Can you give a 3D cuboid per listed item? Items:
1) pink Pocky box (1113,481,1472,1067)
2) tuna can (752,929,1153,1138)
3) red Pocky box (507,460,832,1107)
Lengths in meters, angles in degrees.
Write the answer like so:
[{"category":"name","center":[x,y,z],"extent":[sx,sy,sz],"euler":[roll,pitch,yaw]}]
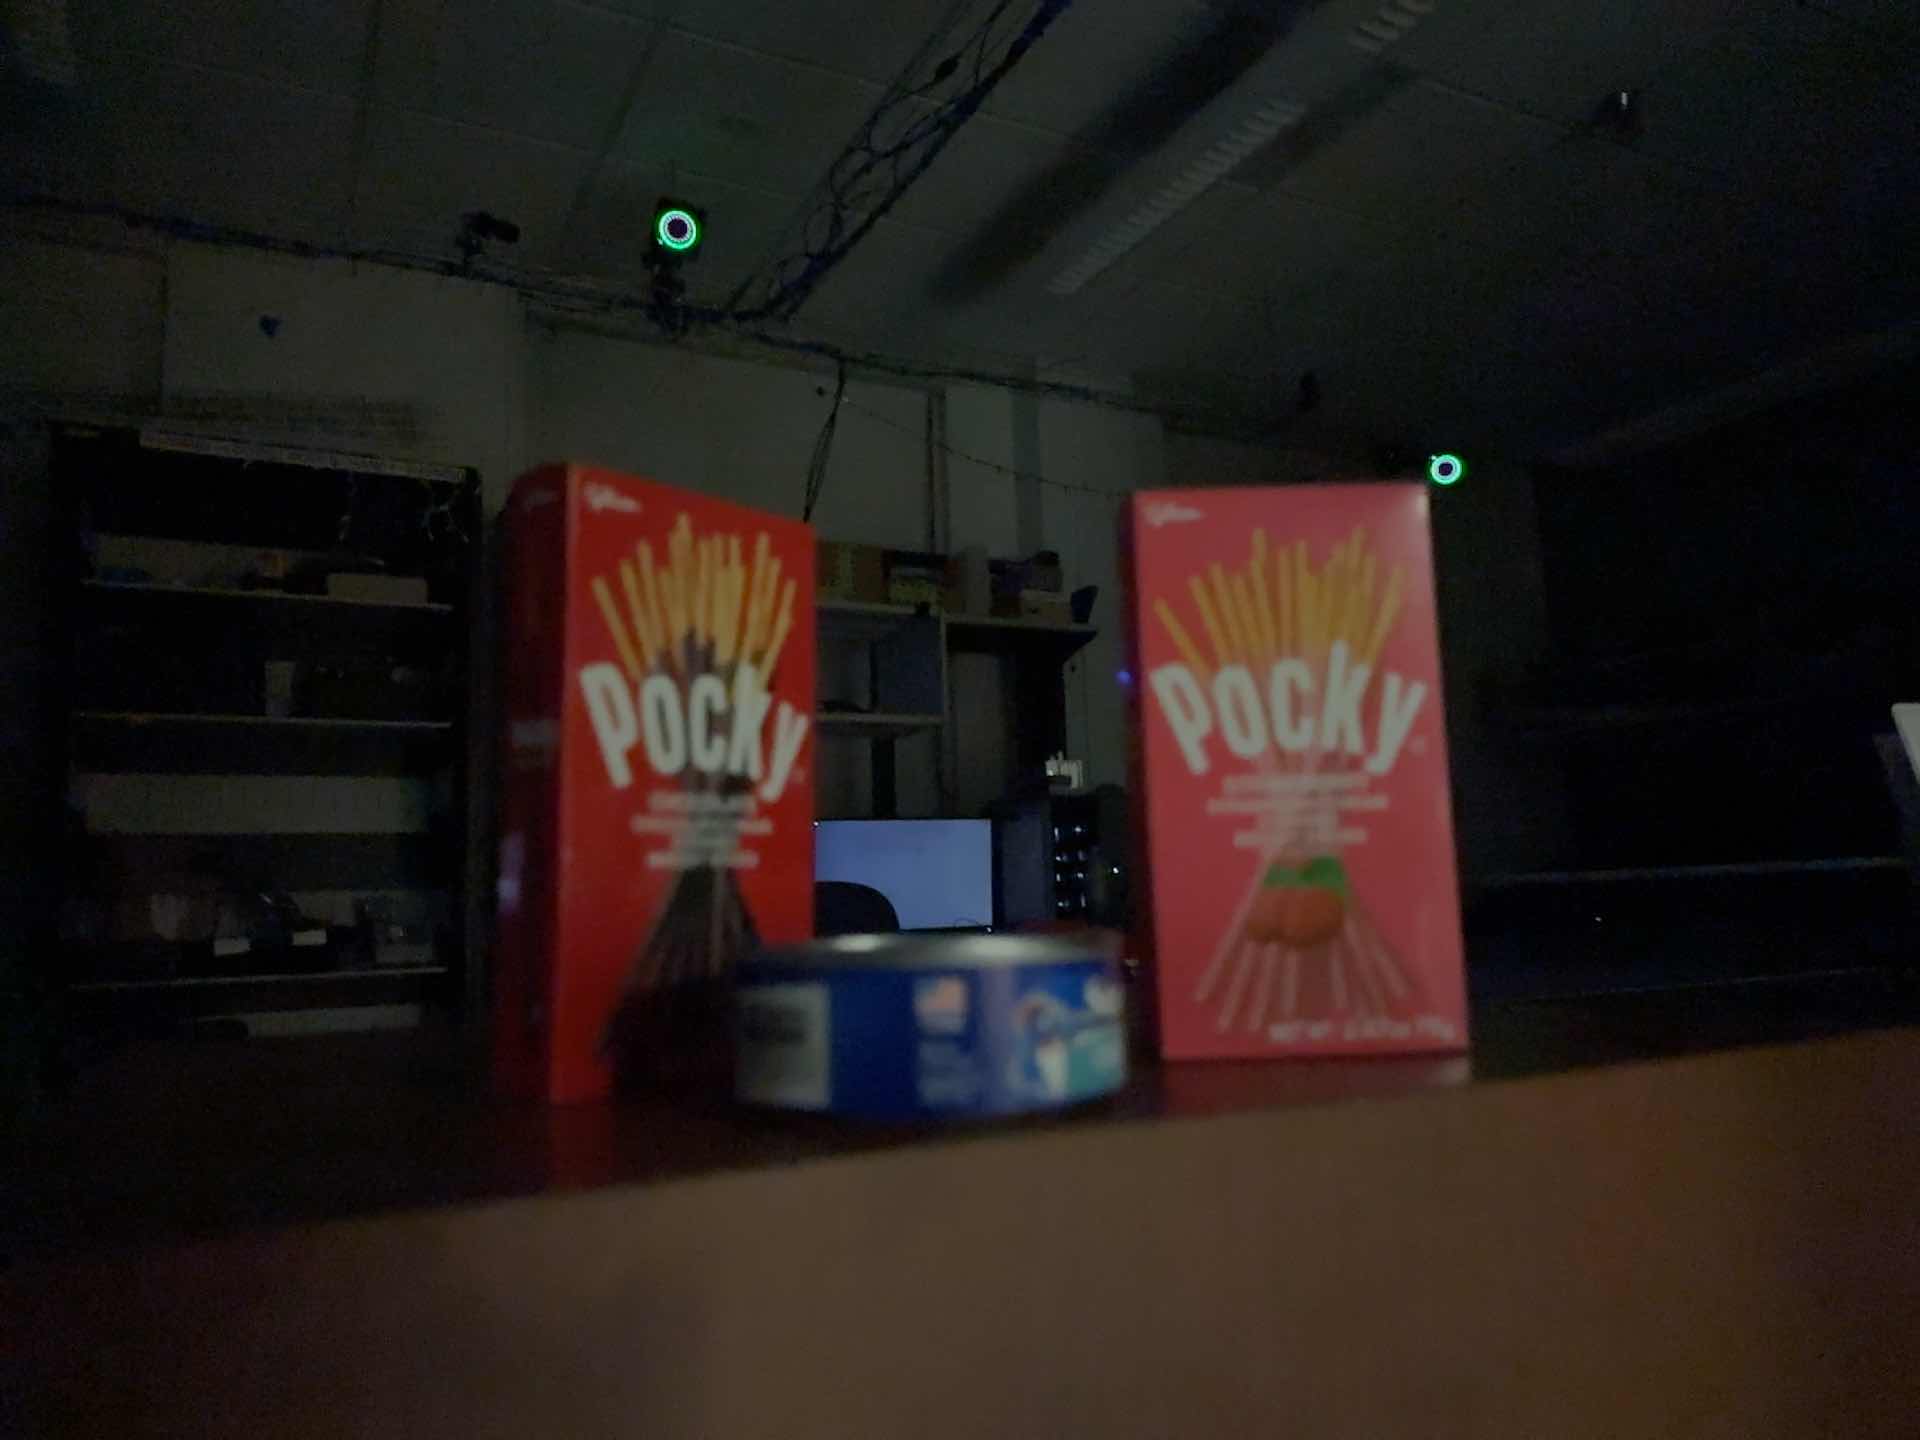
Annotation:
[{"category":"pink Pocky box","center":[0.089,0.013,0.368],"extent":[0.084,0.155,0.029],"euler":[-2,-5,-4]},{"category":"tuna can","center":[-0.001,0.064,0.287],"extent":[0.083,0.034,0.083],"euler":[-2,-6,0]},{"category":"red Pocky box","center":[-0.072,0.017,0.348],"extent":[0.083,0.155,0.028],"euler":[4,-8,-43]}]
